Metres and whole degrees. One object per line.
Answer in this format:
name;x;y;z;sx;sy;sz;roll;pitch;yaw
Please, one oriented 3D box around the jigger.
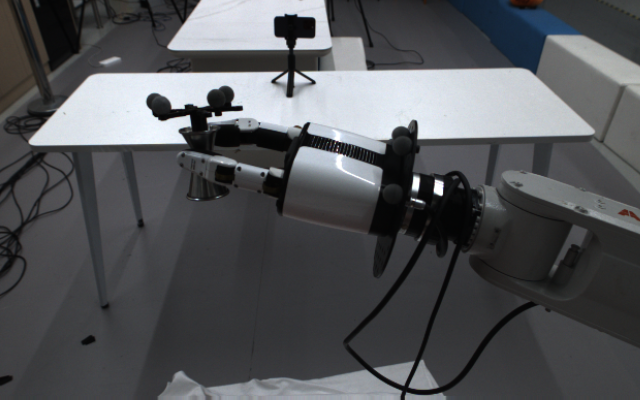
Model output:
jigger;-0.115;-0.037;0.485;0.043;0.071;0.043;-2;19;1
